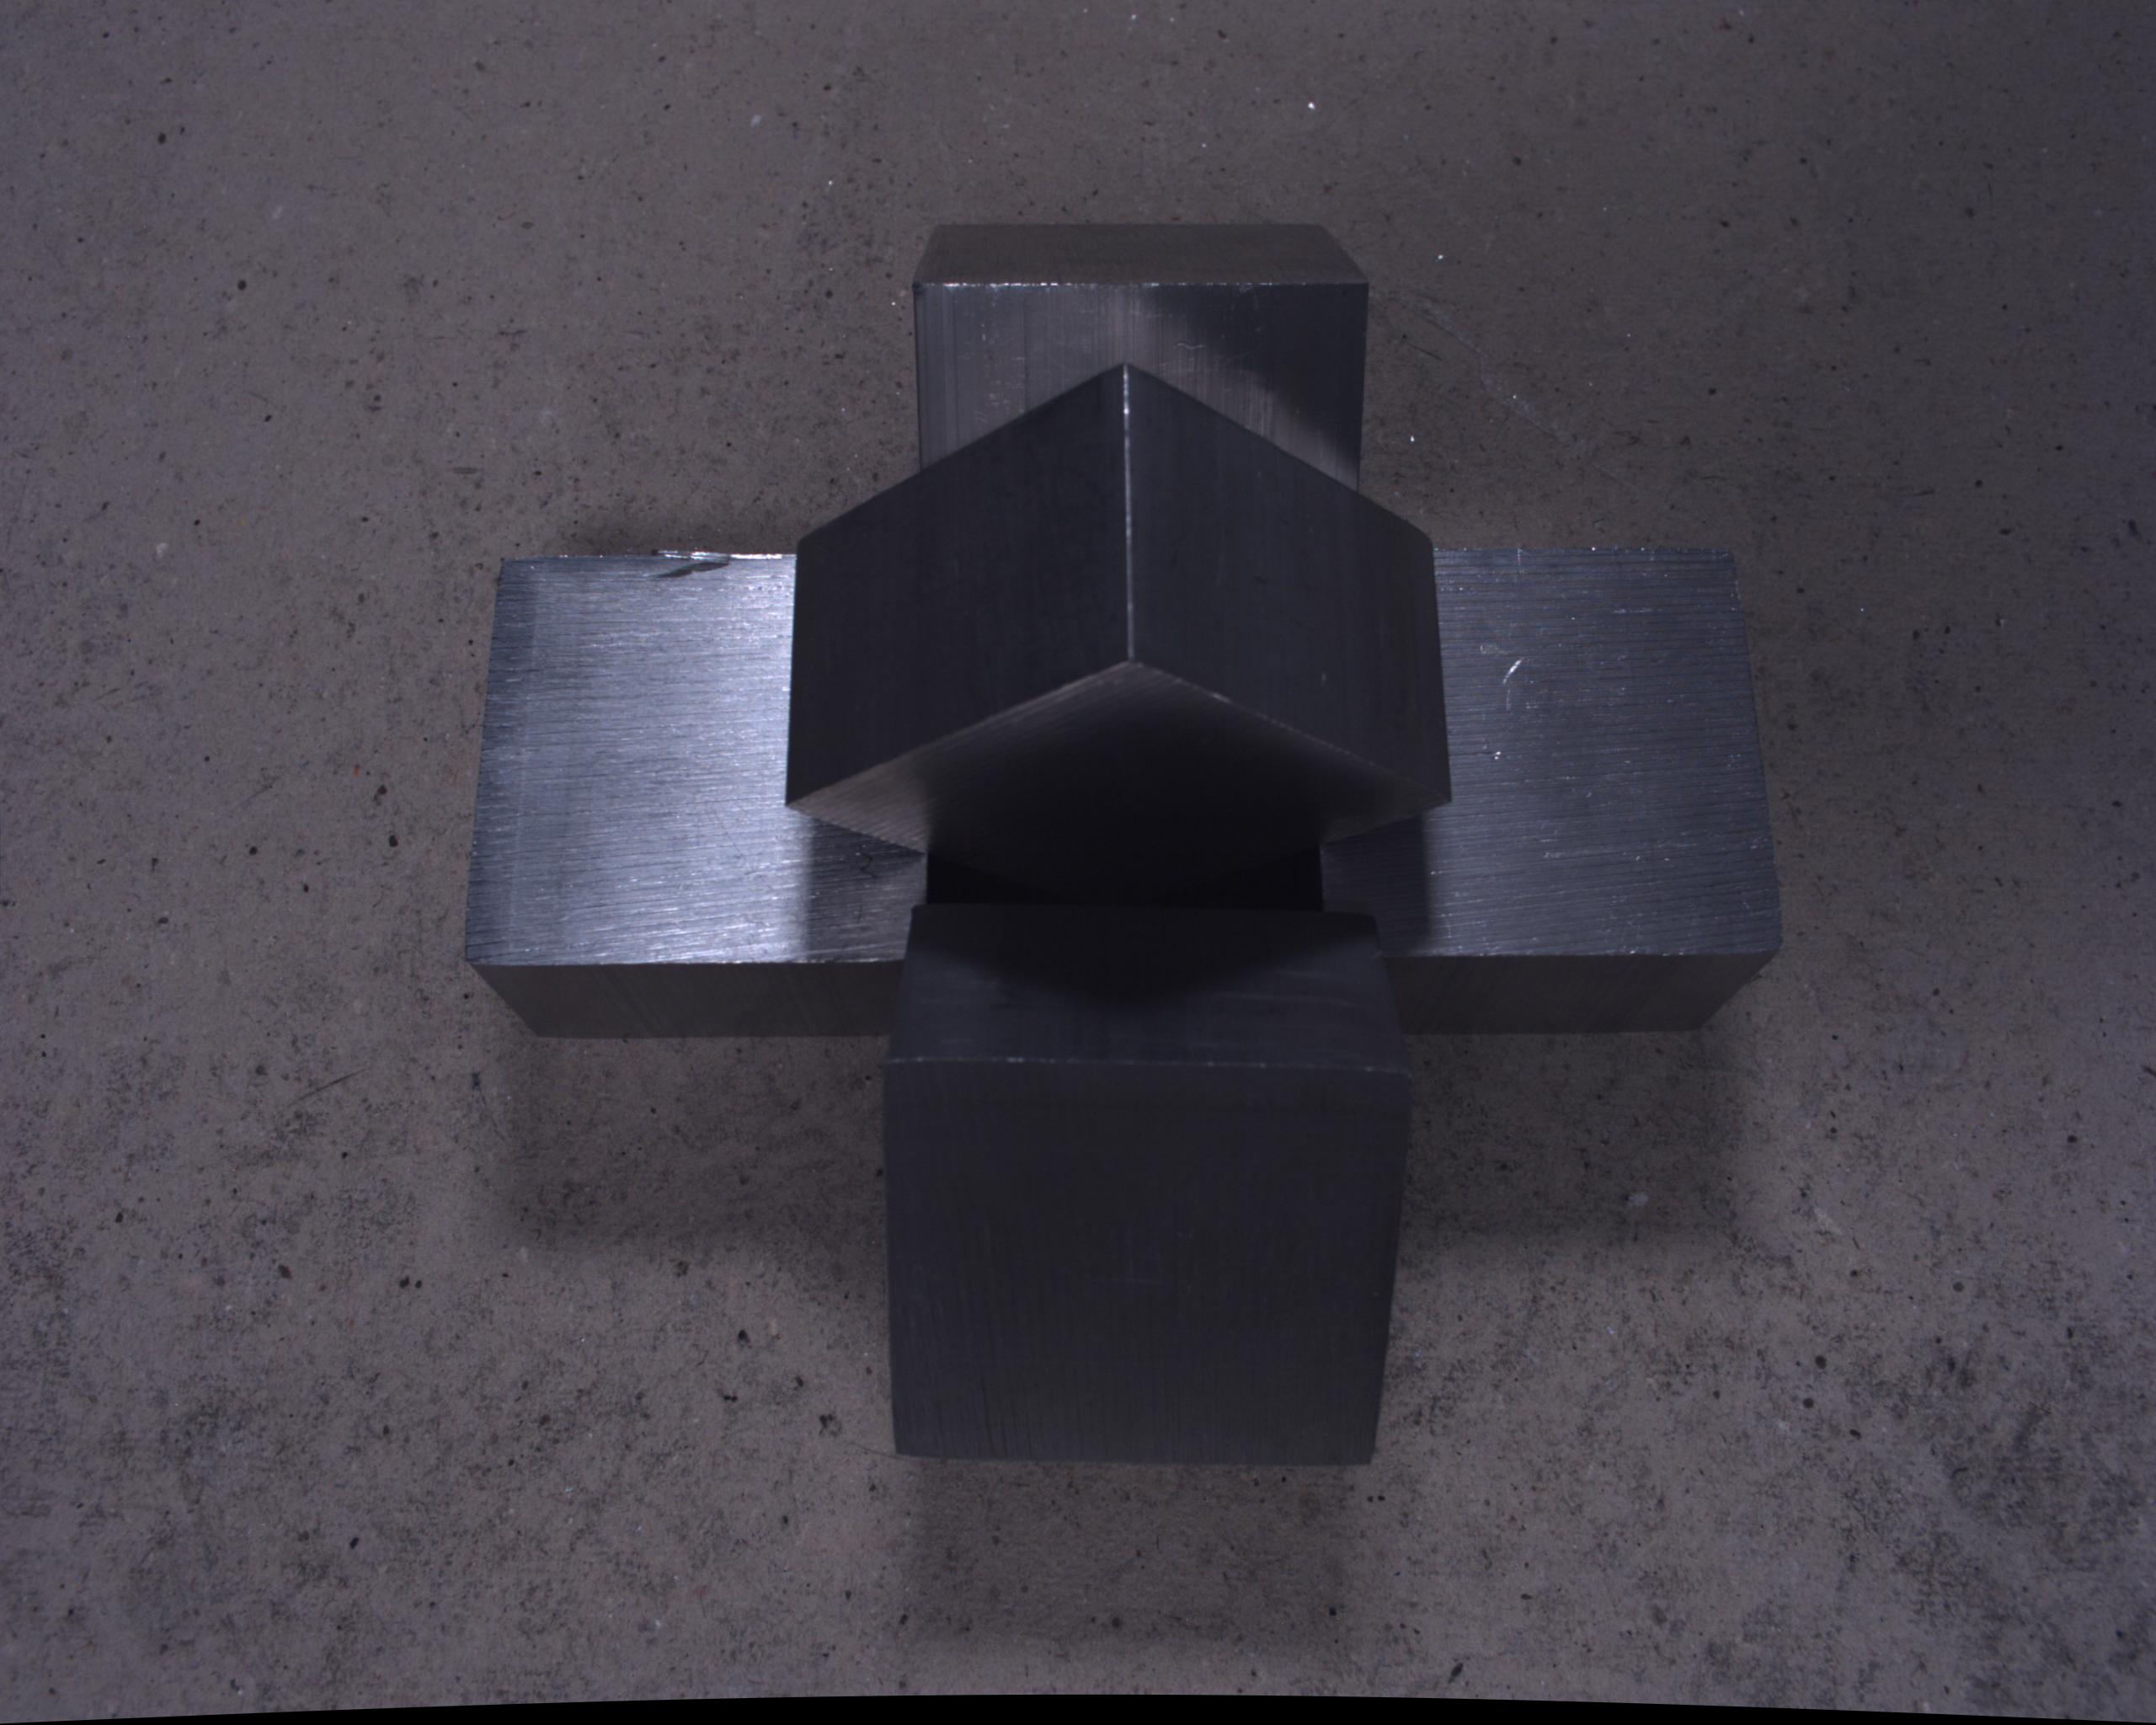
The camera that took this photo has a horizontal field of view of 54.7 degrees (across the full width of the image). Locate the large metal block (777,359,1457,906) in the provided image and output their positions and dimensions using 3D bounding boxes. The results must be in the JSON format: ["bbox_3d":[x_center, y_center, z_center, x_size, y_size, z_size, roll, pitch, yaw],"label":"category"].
[{"bbox_3d":[0.007,-0.033,0.357,0.080,0.080,0.050,-19,64,40],"label":"large metal block"}]

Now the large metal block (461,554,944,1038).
[{"bbox_3d":[-0.067,-0.012,0.399,0.081,0.050,0.080,0,70,-1],"label":"large metal block"}]

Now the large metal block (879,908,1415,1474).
[{"bbox_3d":[0.011,0.055,0.354,0.081,0.079,0.050,1,27,1],"label":"large metal block"}]

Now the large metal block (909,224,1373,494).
[{"bbox_3d":[0.011,-0.094,0.408,0.081,0.080,0.050,0,114,0],"label":"large metal block"}]

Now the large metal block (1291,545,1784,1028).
[{"bbox_3d":[0.082,-0.013,0.399,0.081,0.050,0.080,0,70,-1],"label":"large metal block"}]
